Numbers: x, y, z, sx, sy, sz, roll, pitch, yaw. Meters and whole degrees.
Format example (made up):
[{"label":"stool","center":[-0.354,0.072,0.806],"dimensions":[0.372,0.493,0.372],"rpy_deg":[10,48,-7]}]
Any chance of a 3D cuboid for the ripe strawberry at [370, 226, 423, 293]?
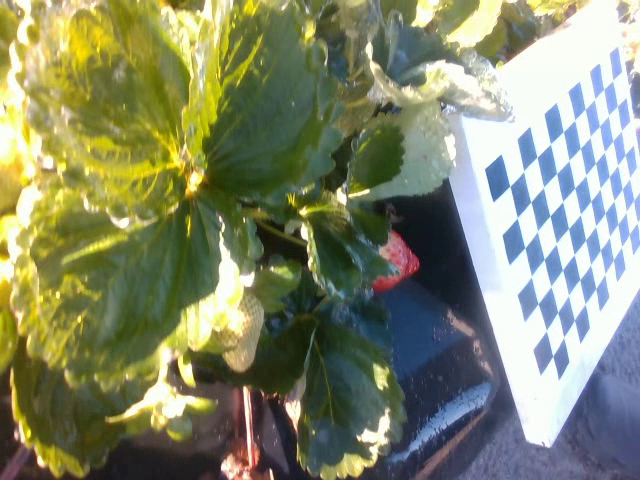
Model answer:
[{"label":"ripe strawberry","center":[0.049,0.018,0.399],"dimensions":[0.040,0.040,0.065],"rpy_deg":[-3,-13,45]}]
